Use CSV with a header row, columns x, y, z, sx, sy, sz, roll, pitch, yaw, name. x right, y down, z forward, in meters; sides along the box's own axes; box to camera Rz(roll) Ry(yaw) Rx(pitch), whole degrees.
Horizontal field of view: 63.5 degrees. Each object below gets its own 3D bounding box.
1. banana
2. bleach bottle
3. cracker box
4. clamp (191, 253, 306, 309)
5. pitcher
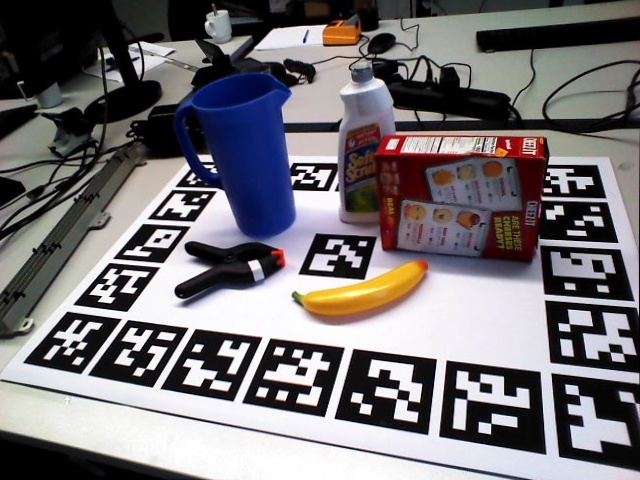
x,y,z,sx,sy,sz,roll,pitch,yaw,name
0.102,0.081,0.704,0.197,0.039,0.074,-18,35,-11,banana
0.094,-0.126,0.801,0.103,0.251,0.067,2,36,17,bleach bottle
0.228,-0.054,0.715,0.215,0.164,0.071,2,34,19,cracker box
-0.104,0.053,0.782,0.165,0.036,0.121,-6,34,2,clamp
-0.098,-0.126,0.814,0.189,0.243,0.132,-7,35,0,pitcher
